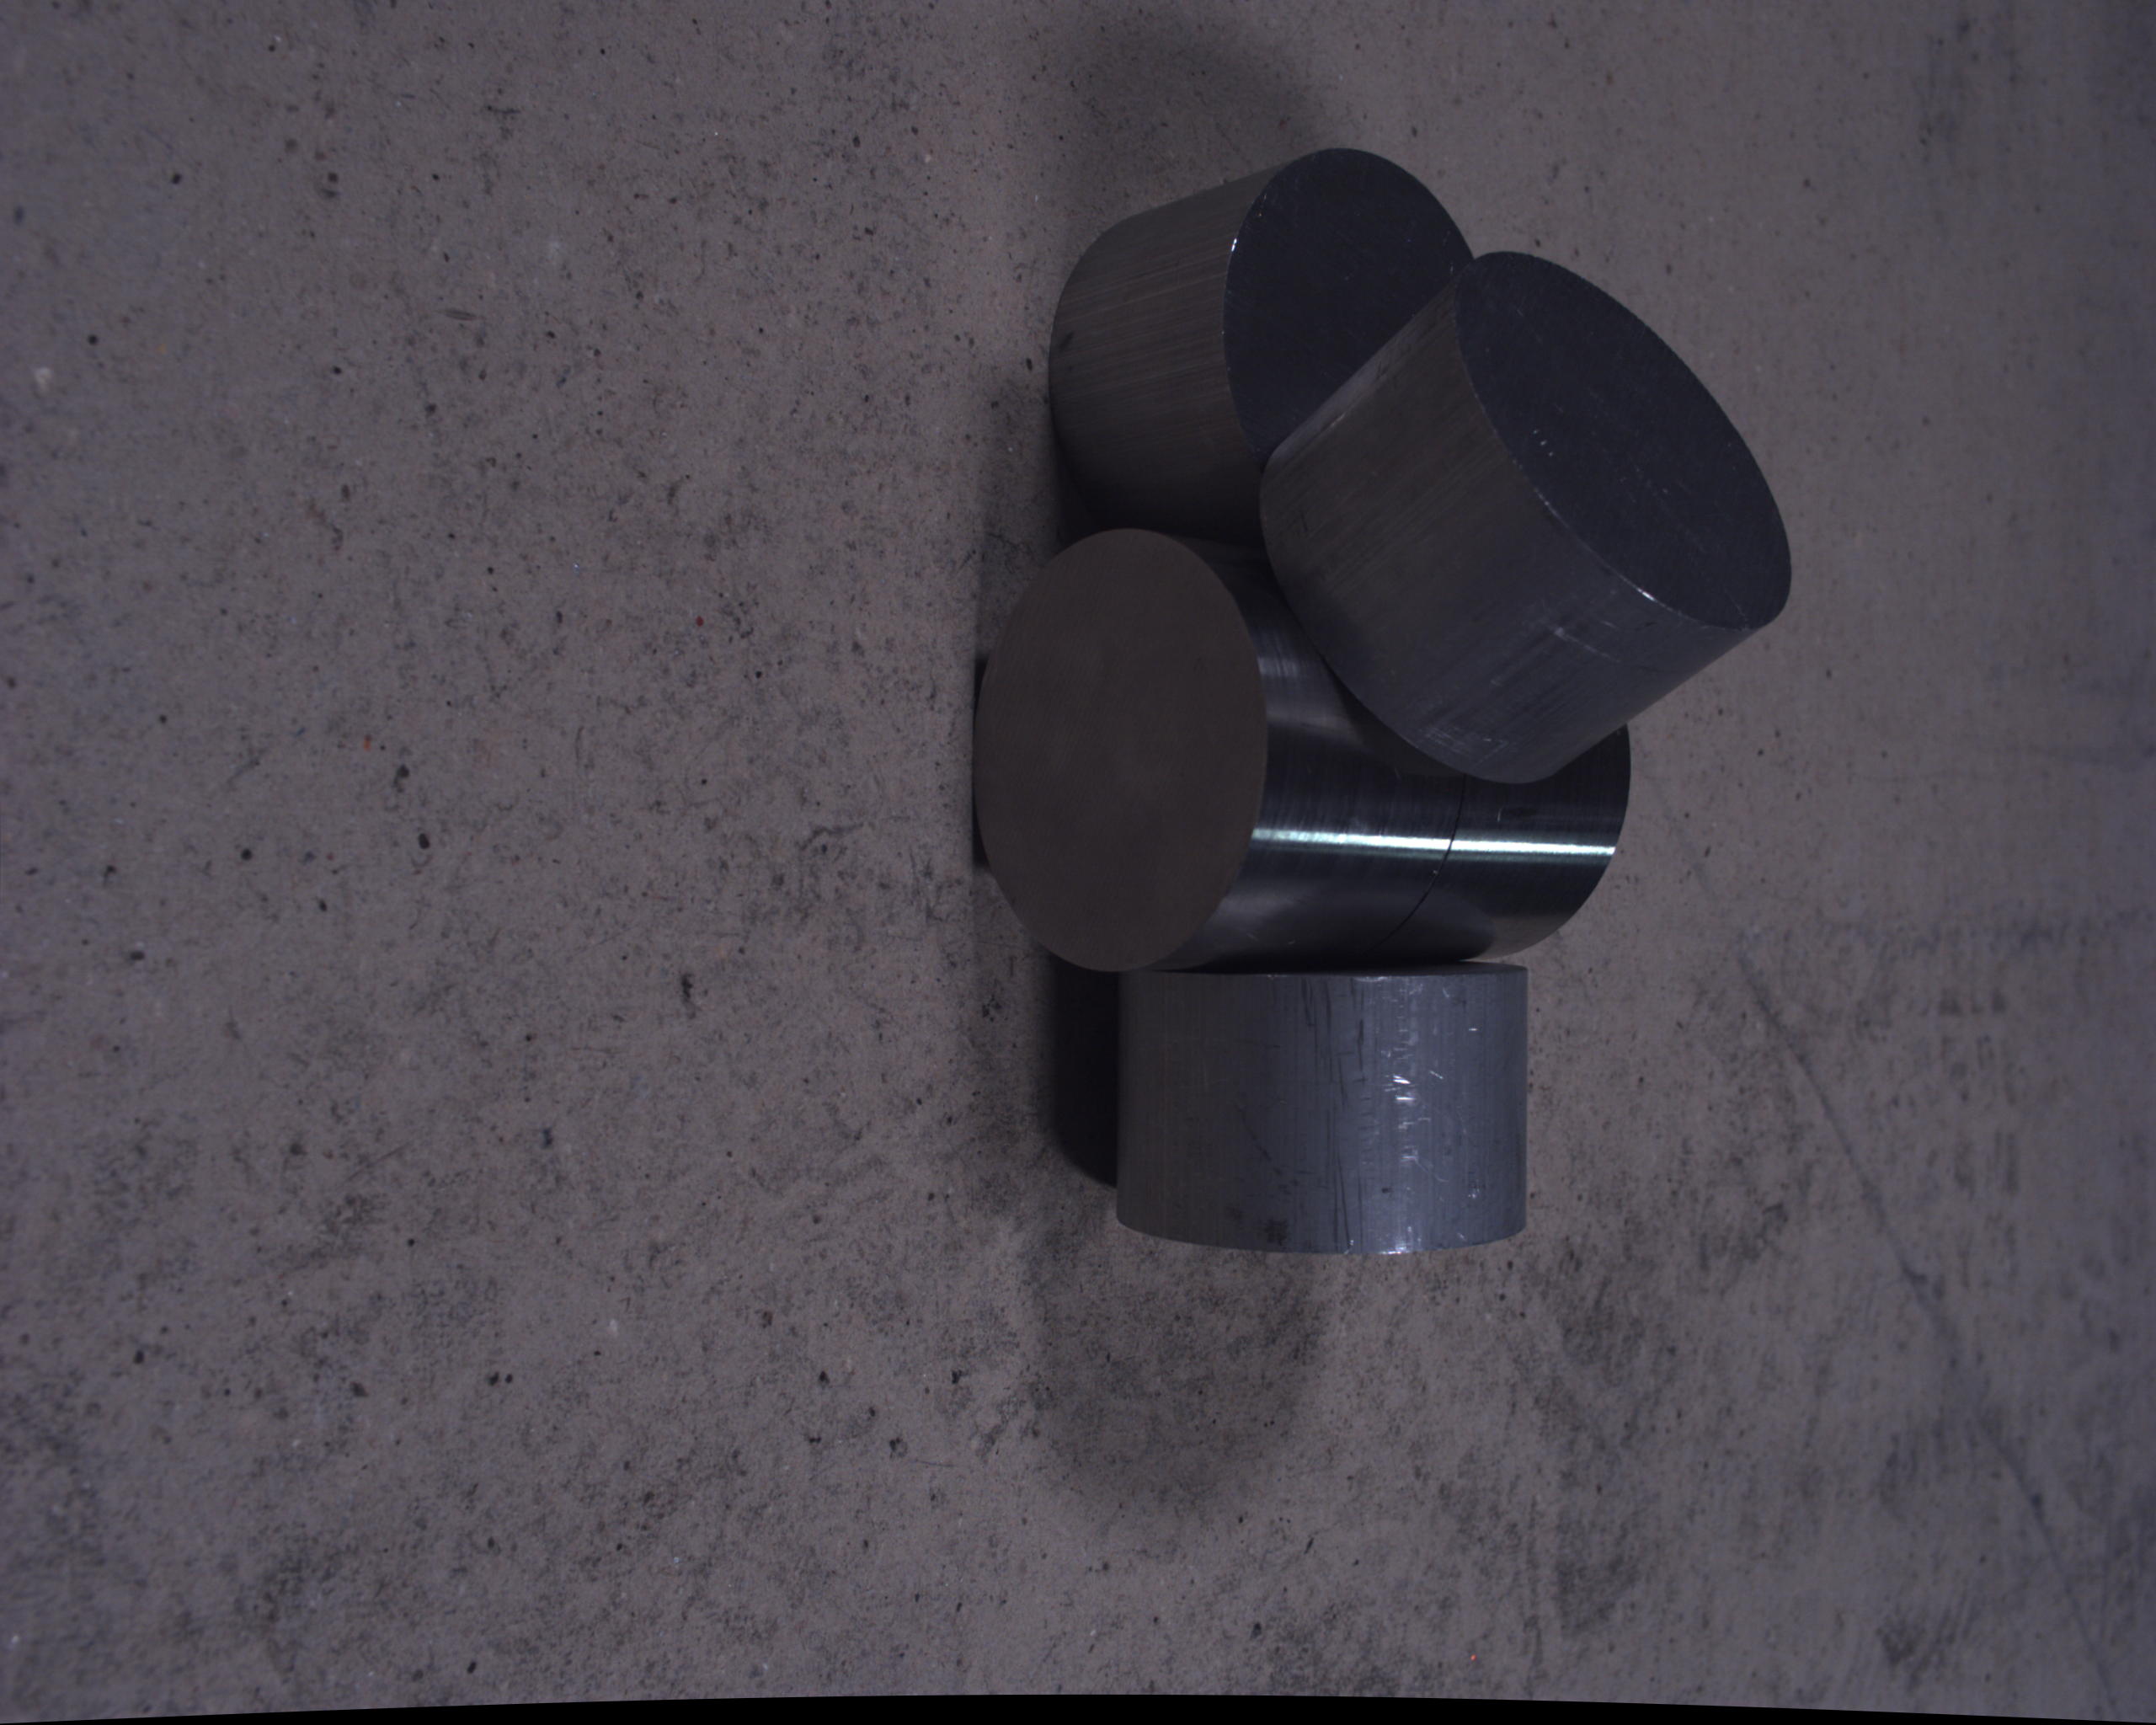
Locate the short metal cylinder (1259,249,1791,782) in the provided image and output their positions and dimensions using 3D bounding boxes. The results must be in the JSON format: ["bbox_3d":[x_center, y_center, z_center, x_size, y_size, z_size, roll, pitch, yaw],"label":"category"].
[{"bbox_3d":[0.080,-0.061,0.373,0.080,0.050,0.080,22,49,-28],"label":"short metal cylinder"}]

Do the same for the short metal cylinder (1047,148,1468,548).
[{"bbox_3d":[0.041,-0.099,0.427,0.081,0.050,0.079,0,90,-40],"label":"short metal cylinder"}]

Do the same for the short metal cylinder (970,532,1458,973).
[{"bbox_3d":[0.024,-0.020,0.393,0.050,0.080,0.079,1,90,-41],"label":"short metal cylinder"}]

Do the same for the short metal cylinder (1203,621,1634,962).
[{"bbox_3d":[0.065,-0.019,0.426,0.050,0.080,0.079,0,90,-40],"label":"short metal cylinder"}]

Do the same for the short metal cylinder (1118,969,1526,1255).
[{"bbox_3d":[0.048,0.045,0.413,0.081,0.080,0.050,0,90,-40],"label":"short metal cylinder"}]
